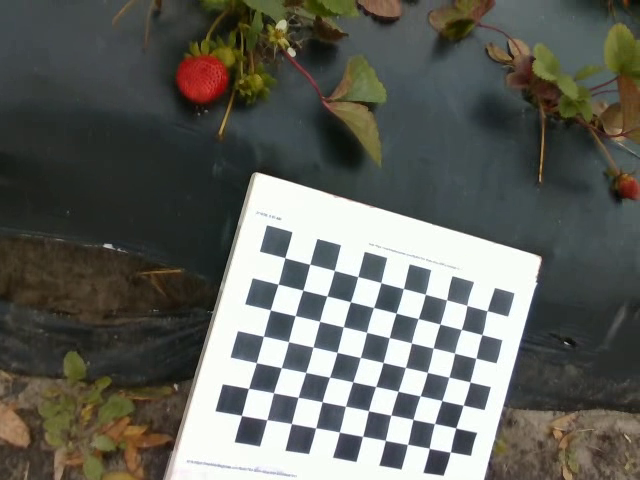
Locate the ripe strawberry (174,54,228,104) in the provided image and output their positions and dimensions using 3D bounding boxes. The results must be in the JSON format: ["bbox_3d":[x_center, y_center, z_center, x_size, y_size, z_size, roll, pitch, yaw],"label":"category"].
[{"bbox_3d":[-0.028,-0.038,0.170,0.018,0.017,0.014,24,-50,-27],"label":"ripe strawberry"}]
